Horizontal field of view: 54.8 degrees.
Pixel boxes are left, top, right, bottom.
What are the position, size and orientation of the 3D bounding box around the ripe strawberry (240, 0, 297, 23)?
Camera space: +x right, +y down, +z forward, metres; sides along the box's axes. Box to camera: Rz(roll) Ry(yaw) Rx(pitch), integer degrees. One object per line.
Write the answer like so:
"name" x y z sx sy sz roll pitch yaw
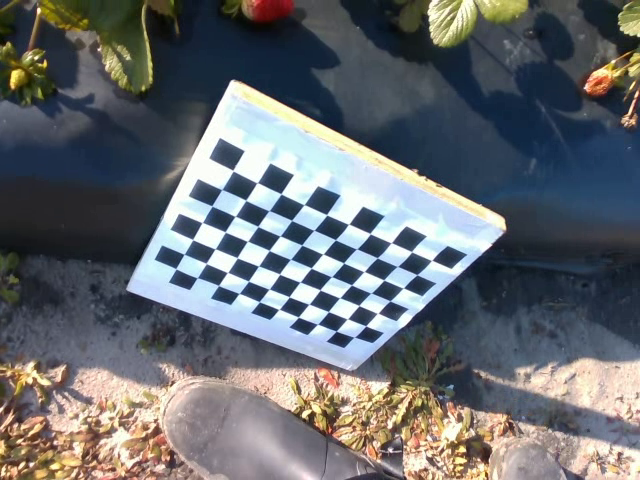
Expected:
"ripe strawberry" -0.051 -0.221 0.576 0.063 0.045 0.044 8 43 -9
